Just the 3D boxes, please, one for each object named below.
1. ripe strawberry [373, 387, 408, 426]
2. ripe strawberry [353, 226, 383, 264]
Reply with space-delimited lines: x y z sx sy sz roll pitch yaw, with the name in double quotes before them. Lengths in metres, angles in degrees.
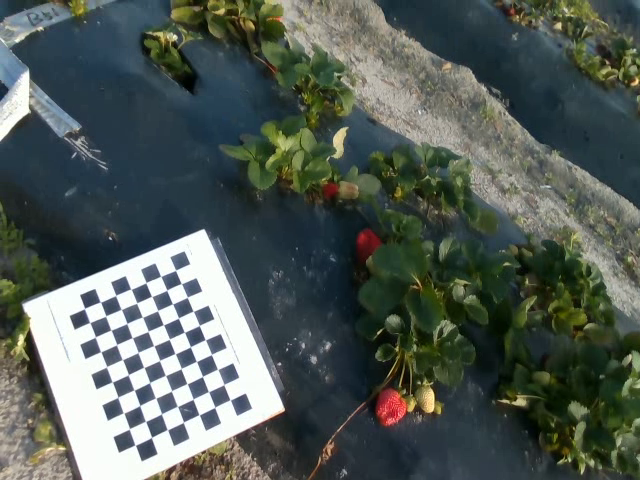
"ripe strawberry" 0.104 0.242 0.920 0.050 0.047 0.035 -43 -10 -24
"ripe strawberry" 0.084 0.009 1.106 0.058 0.071 0.057 -13 7 -11
